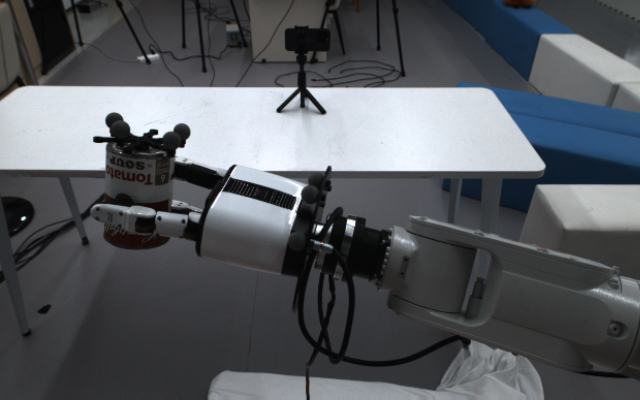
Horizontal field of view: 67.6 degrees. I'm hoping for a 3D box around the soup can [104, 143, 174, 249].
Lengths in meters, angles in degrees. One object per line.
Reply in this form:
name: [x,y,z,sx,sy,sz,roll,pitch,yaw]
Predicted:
soup can: [-0.187,-0.007,0.507,0.067,0.101,0.067,9,20,-3]
